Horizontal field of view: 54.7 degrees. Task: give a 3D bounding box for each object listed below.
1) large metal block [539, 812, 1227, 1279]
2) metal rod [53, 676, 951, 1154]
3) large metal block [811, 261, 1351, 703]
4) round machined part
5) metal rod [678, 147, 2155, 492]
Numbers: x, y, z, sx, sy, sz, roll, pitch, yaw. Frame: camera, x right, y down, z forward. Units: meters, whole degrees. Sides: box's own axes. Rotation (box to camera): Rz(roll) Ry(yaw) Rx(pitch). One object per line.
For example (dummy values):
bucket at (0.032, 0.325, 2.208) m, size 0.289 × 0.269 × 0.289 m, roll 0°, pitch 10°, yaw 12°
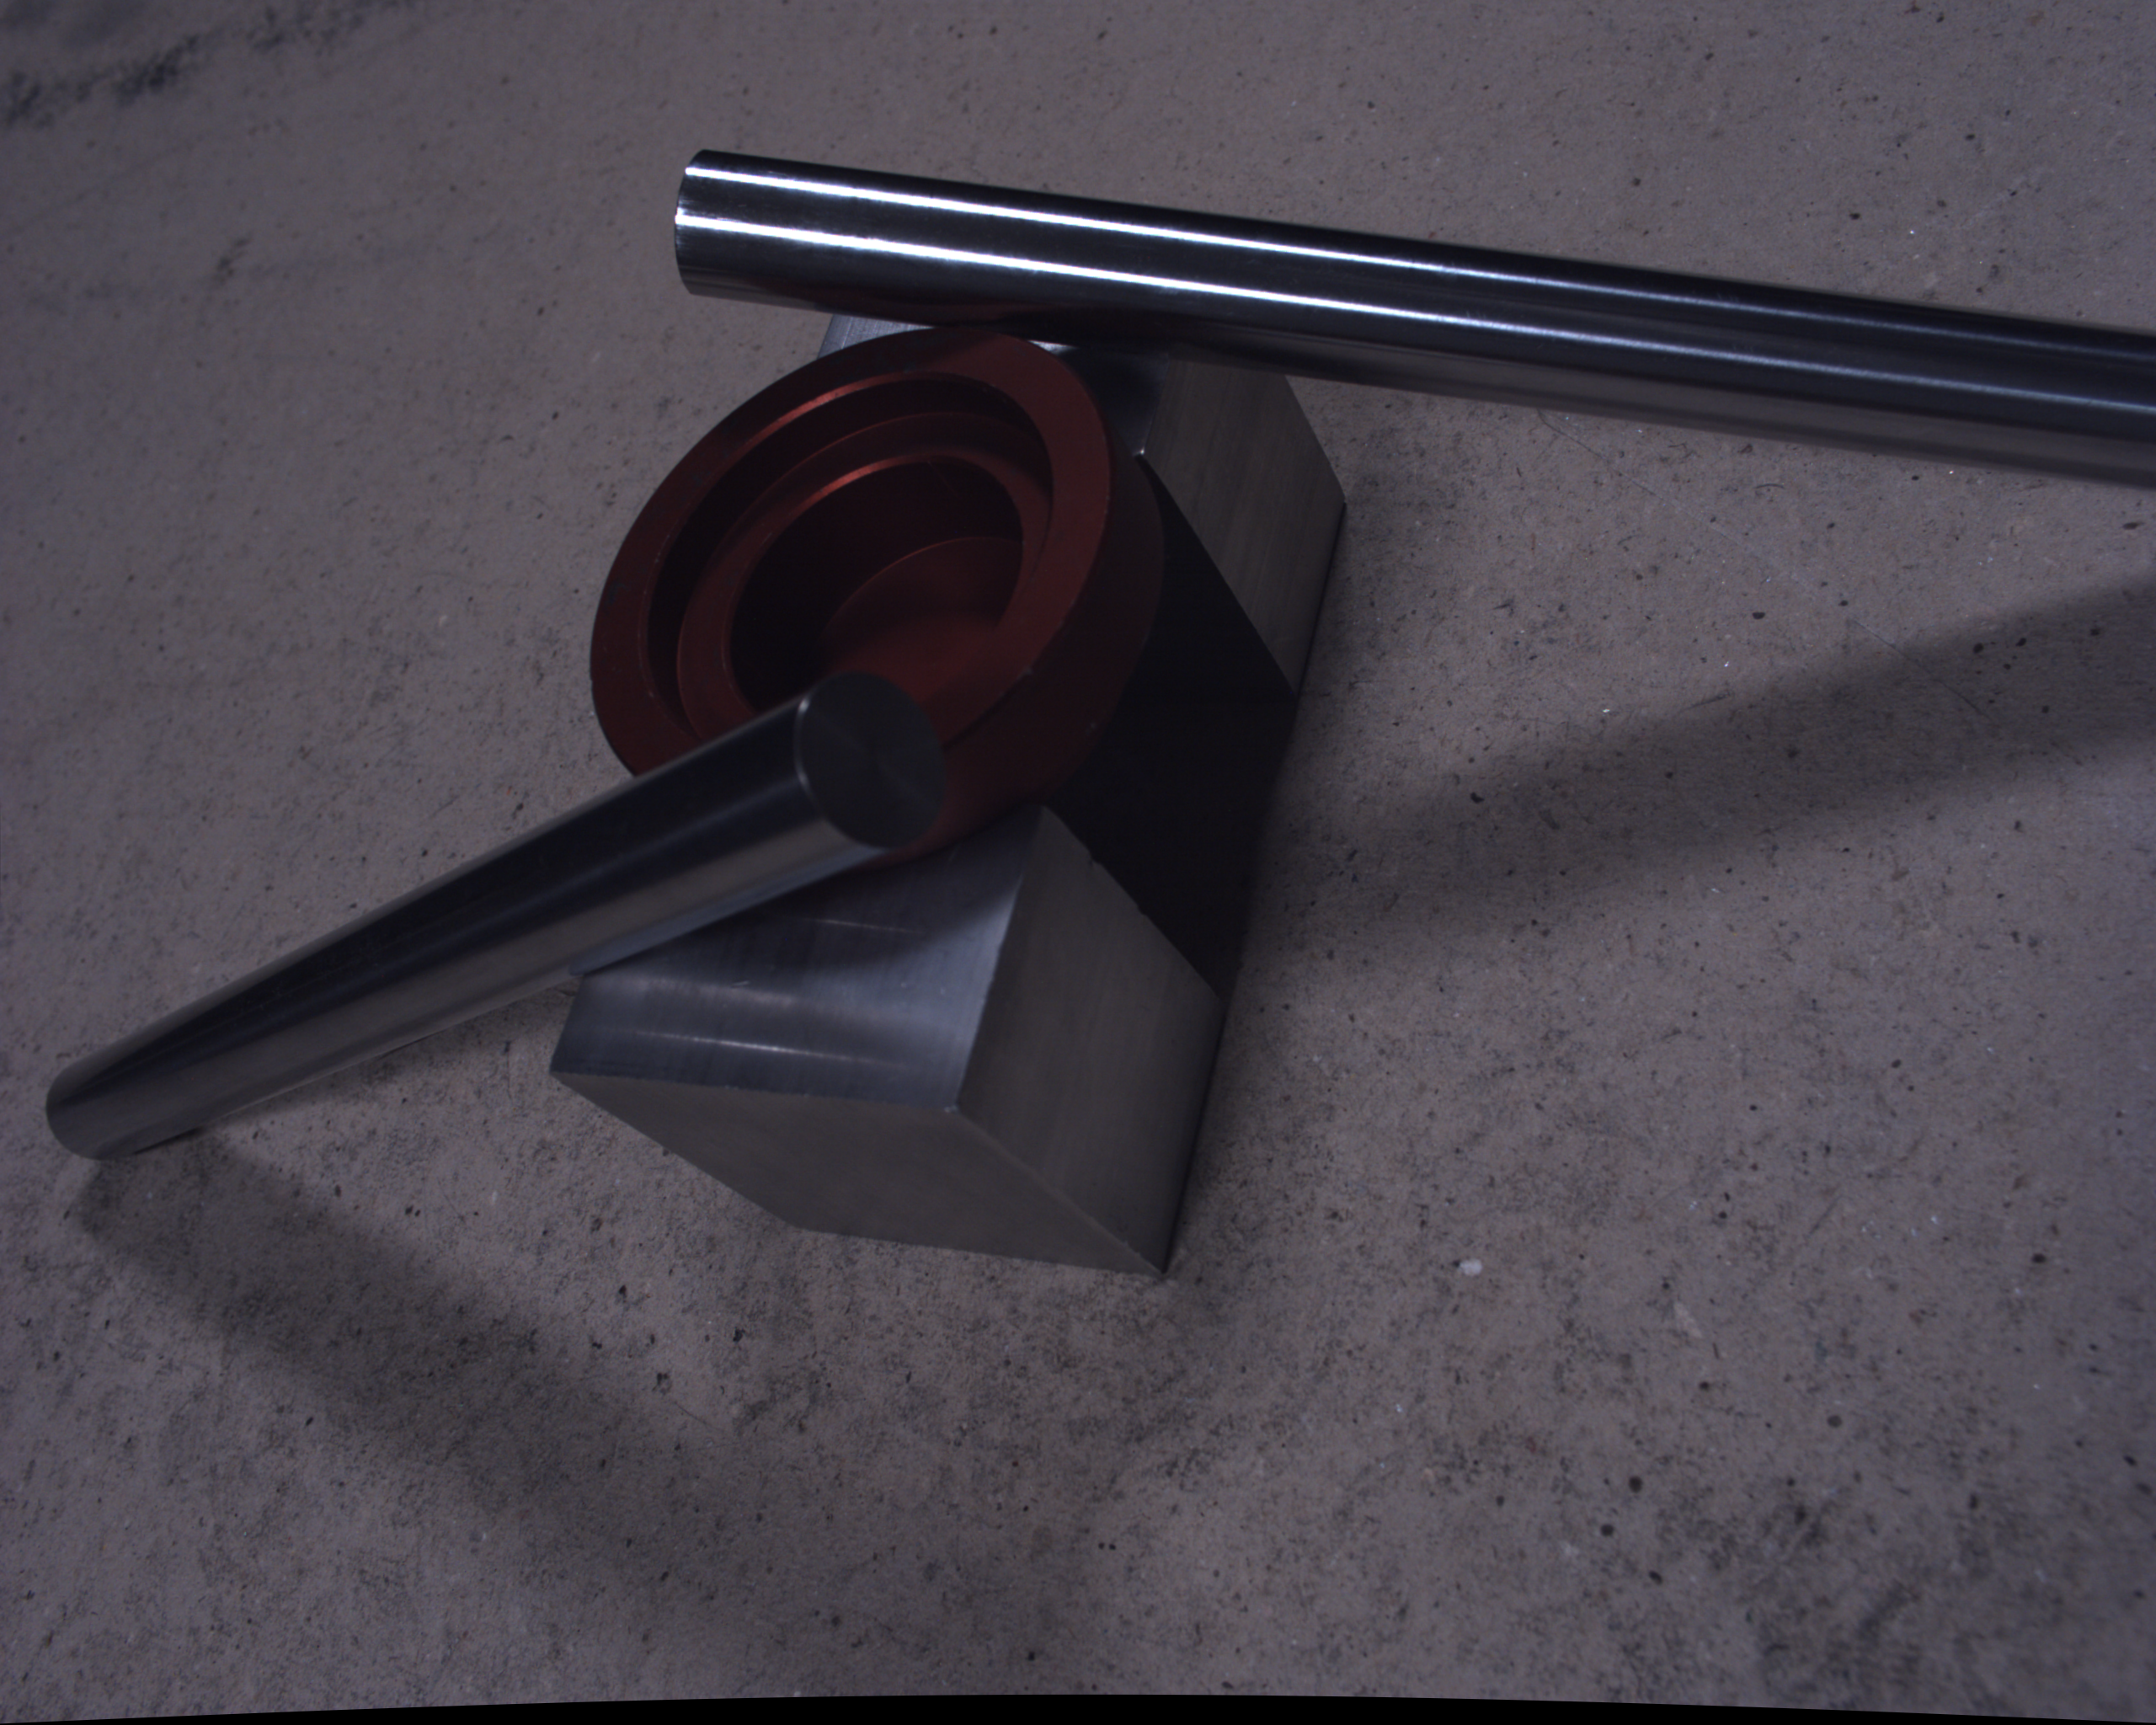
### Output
large metal block at (-0.030, 0.032, 0.365) m, size 0.080 × 0.080 × 0.050 m, roll 1°, pitch 63°, yaw 28°
metal rod at (-0.127, 0.022, 0.386) m, size 0.299 × 0.025 × 0.025 m, roll -19°, pitch 51°, yaw 45°
large metal block at (-0.001, -0.074, 0.414) m, size 0.080 × 0.080 × 0.050 m, roll 1°, pitch 63°, yaw 28°
round machined part at (-0.030, -0.040, 0.358) m, size 0.098 × 0.042 × 0.098 m, roll -13°, pitch 56°, yaw 20°
metal rod at (0.081, -0.088, 0.347) m, size 0.302 × 0.025 × 0.025 m, roll 10°, pitch 65°, yaw 8°
